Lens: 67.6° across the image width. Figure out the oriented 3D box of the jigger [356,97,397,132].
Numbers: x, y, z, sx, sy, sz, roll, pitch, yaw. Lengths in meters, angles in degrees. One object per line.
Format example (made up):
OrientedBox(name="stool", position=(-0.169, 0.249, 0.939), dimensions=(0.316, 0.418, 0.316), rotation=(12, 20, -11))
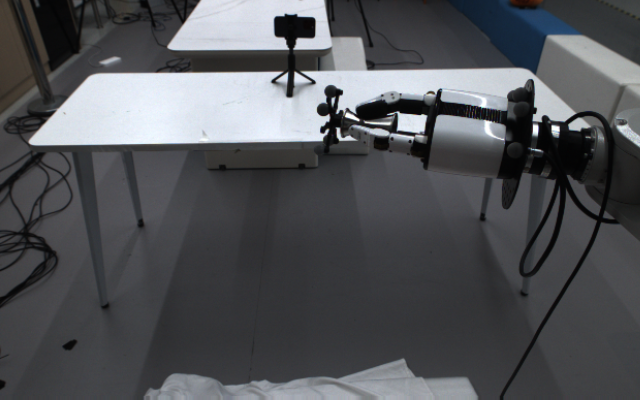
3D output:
OrientedBox(name="jigger", position=(0.067, -0.103, 0.642), dimensions=(0.071, 0.043, 0.043), rotation=(10, 35, 15))
